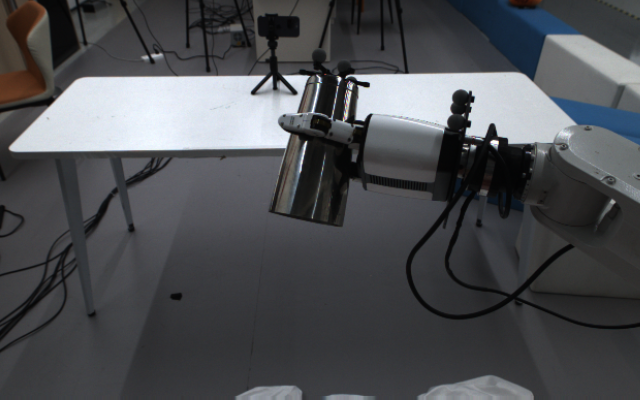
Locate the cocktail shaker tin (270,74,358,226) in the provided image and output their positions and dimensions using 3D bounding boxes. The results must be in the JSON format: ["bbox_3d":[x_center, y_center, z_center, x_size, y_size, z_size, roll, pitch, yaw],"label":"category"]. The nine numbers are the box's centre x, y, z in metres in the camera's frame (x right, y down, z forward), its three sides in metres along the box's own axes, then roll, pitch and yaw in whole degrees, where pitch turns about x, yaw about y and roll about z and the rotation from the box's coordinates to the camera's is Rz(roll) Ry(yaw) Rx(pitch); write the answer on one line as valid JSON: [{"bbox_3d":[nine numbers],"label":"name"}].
[{"bbox_3d":[0.001,-0.059,0.588,0.093,0.170,0.093,11,-5,1],"label":"cocktail shaker tin"}]
